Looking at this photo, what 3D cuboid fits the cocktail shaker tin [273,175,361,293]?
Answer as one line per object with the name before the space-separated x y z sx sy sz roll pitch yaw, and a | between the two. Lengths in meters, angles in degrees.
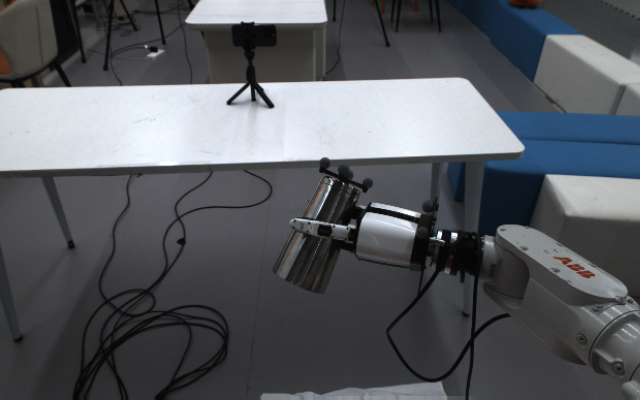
cocktail shaker tin | 0.002 0.048 0.768 0.093 0.170 0.093 23 0 0
